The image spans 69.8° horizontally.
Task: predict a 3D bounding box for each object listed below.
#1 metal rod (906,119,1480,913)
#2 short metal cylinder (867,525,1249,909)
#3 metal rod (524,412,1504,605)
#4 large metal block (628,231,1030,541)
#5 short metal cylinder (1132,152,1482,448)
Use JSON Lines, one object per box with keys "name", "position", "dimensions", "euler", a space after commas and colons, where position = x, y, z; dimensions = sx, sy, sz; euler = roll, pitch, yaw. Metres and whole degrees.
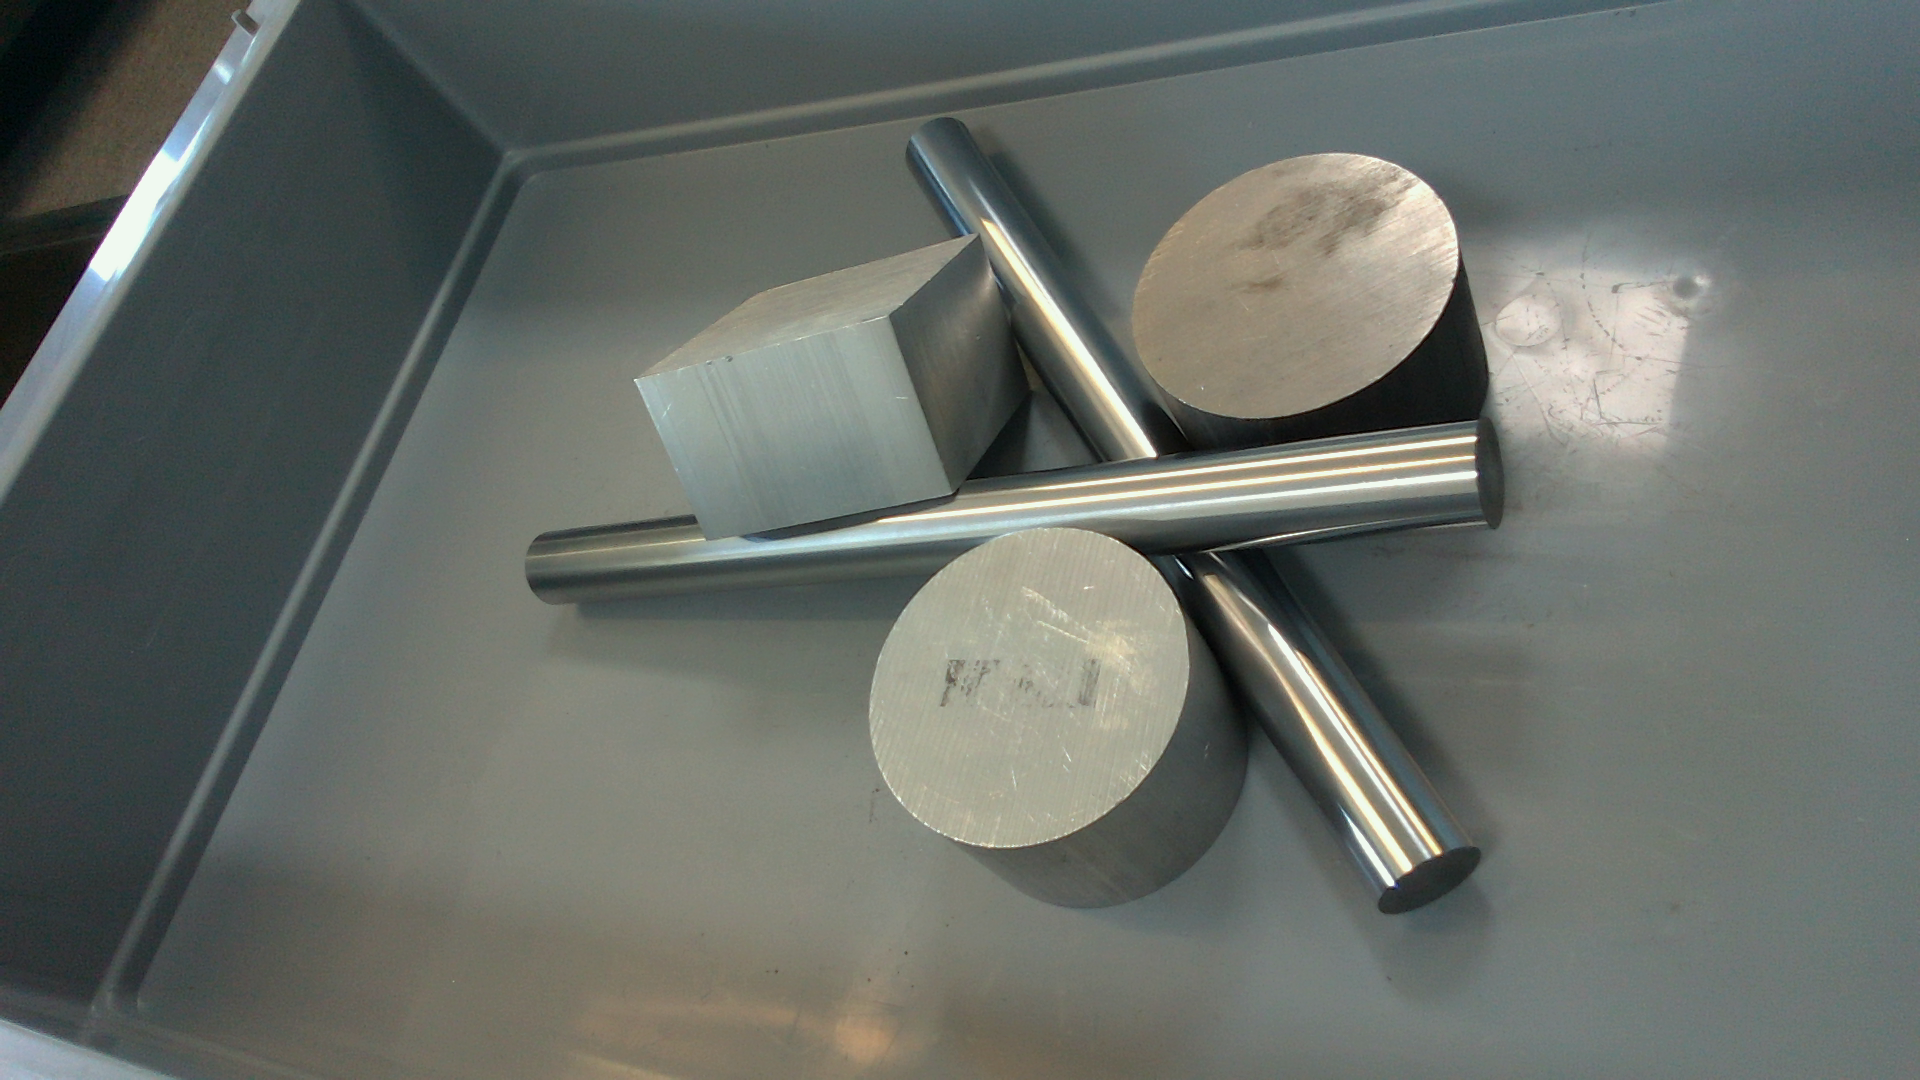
{"name": "metal rod", "position": [0.046, -0.032, 0.387], "dimensions": [0.025, 0.025, 0.299], "euler": [-33, 51, 7]}
{"name": "short metal cylinder", "position": [0.025, 0.044, 0.336], "dimensions": [0.080, 0.050, 0.080], "euler": [-13, 56, 21]}
{"name": "metal rod", "position": [-0.010, -0.003, 0.378], "dimensions": [0.299, 0.025, 0.025], "euler": [-6, 59, 33]}
{"name": "large metal block", "position": [-0.034, -0.046, 0.399], "dimensions": [0.080, 0.050, 0.080], "euler": [-10, 22, 24]}
{"name": "short metal cylinder", "position": [0.091, -0.053, 0.360], "dimensions": [0.080, 0.050, 0.080], "euler": [-13, 56, 21]}
